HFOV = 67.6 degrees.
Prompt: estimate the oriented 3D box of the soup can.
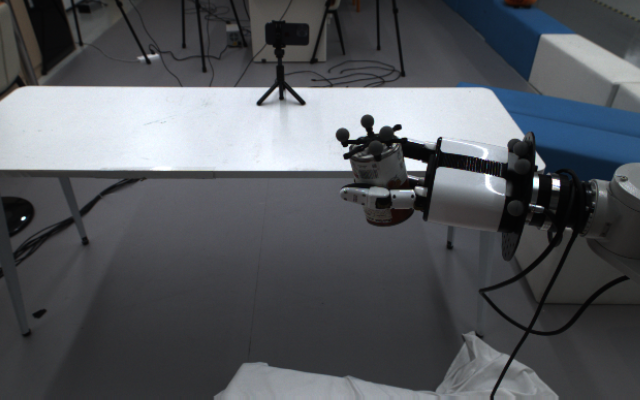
[{"bbox_3d":[0.081,-0.026,0.622,0.067,0.101,0.067,-13,31,8],"label":"soup can"}]
